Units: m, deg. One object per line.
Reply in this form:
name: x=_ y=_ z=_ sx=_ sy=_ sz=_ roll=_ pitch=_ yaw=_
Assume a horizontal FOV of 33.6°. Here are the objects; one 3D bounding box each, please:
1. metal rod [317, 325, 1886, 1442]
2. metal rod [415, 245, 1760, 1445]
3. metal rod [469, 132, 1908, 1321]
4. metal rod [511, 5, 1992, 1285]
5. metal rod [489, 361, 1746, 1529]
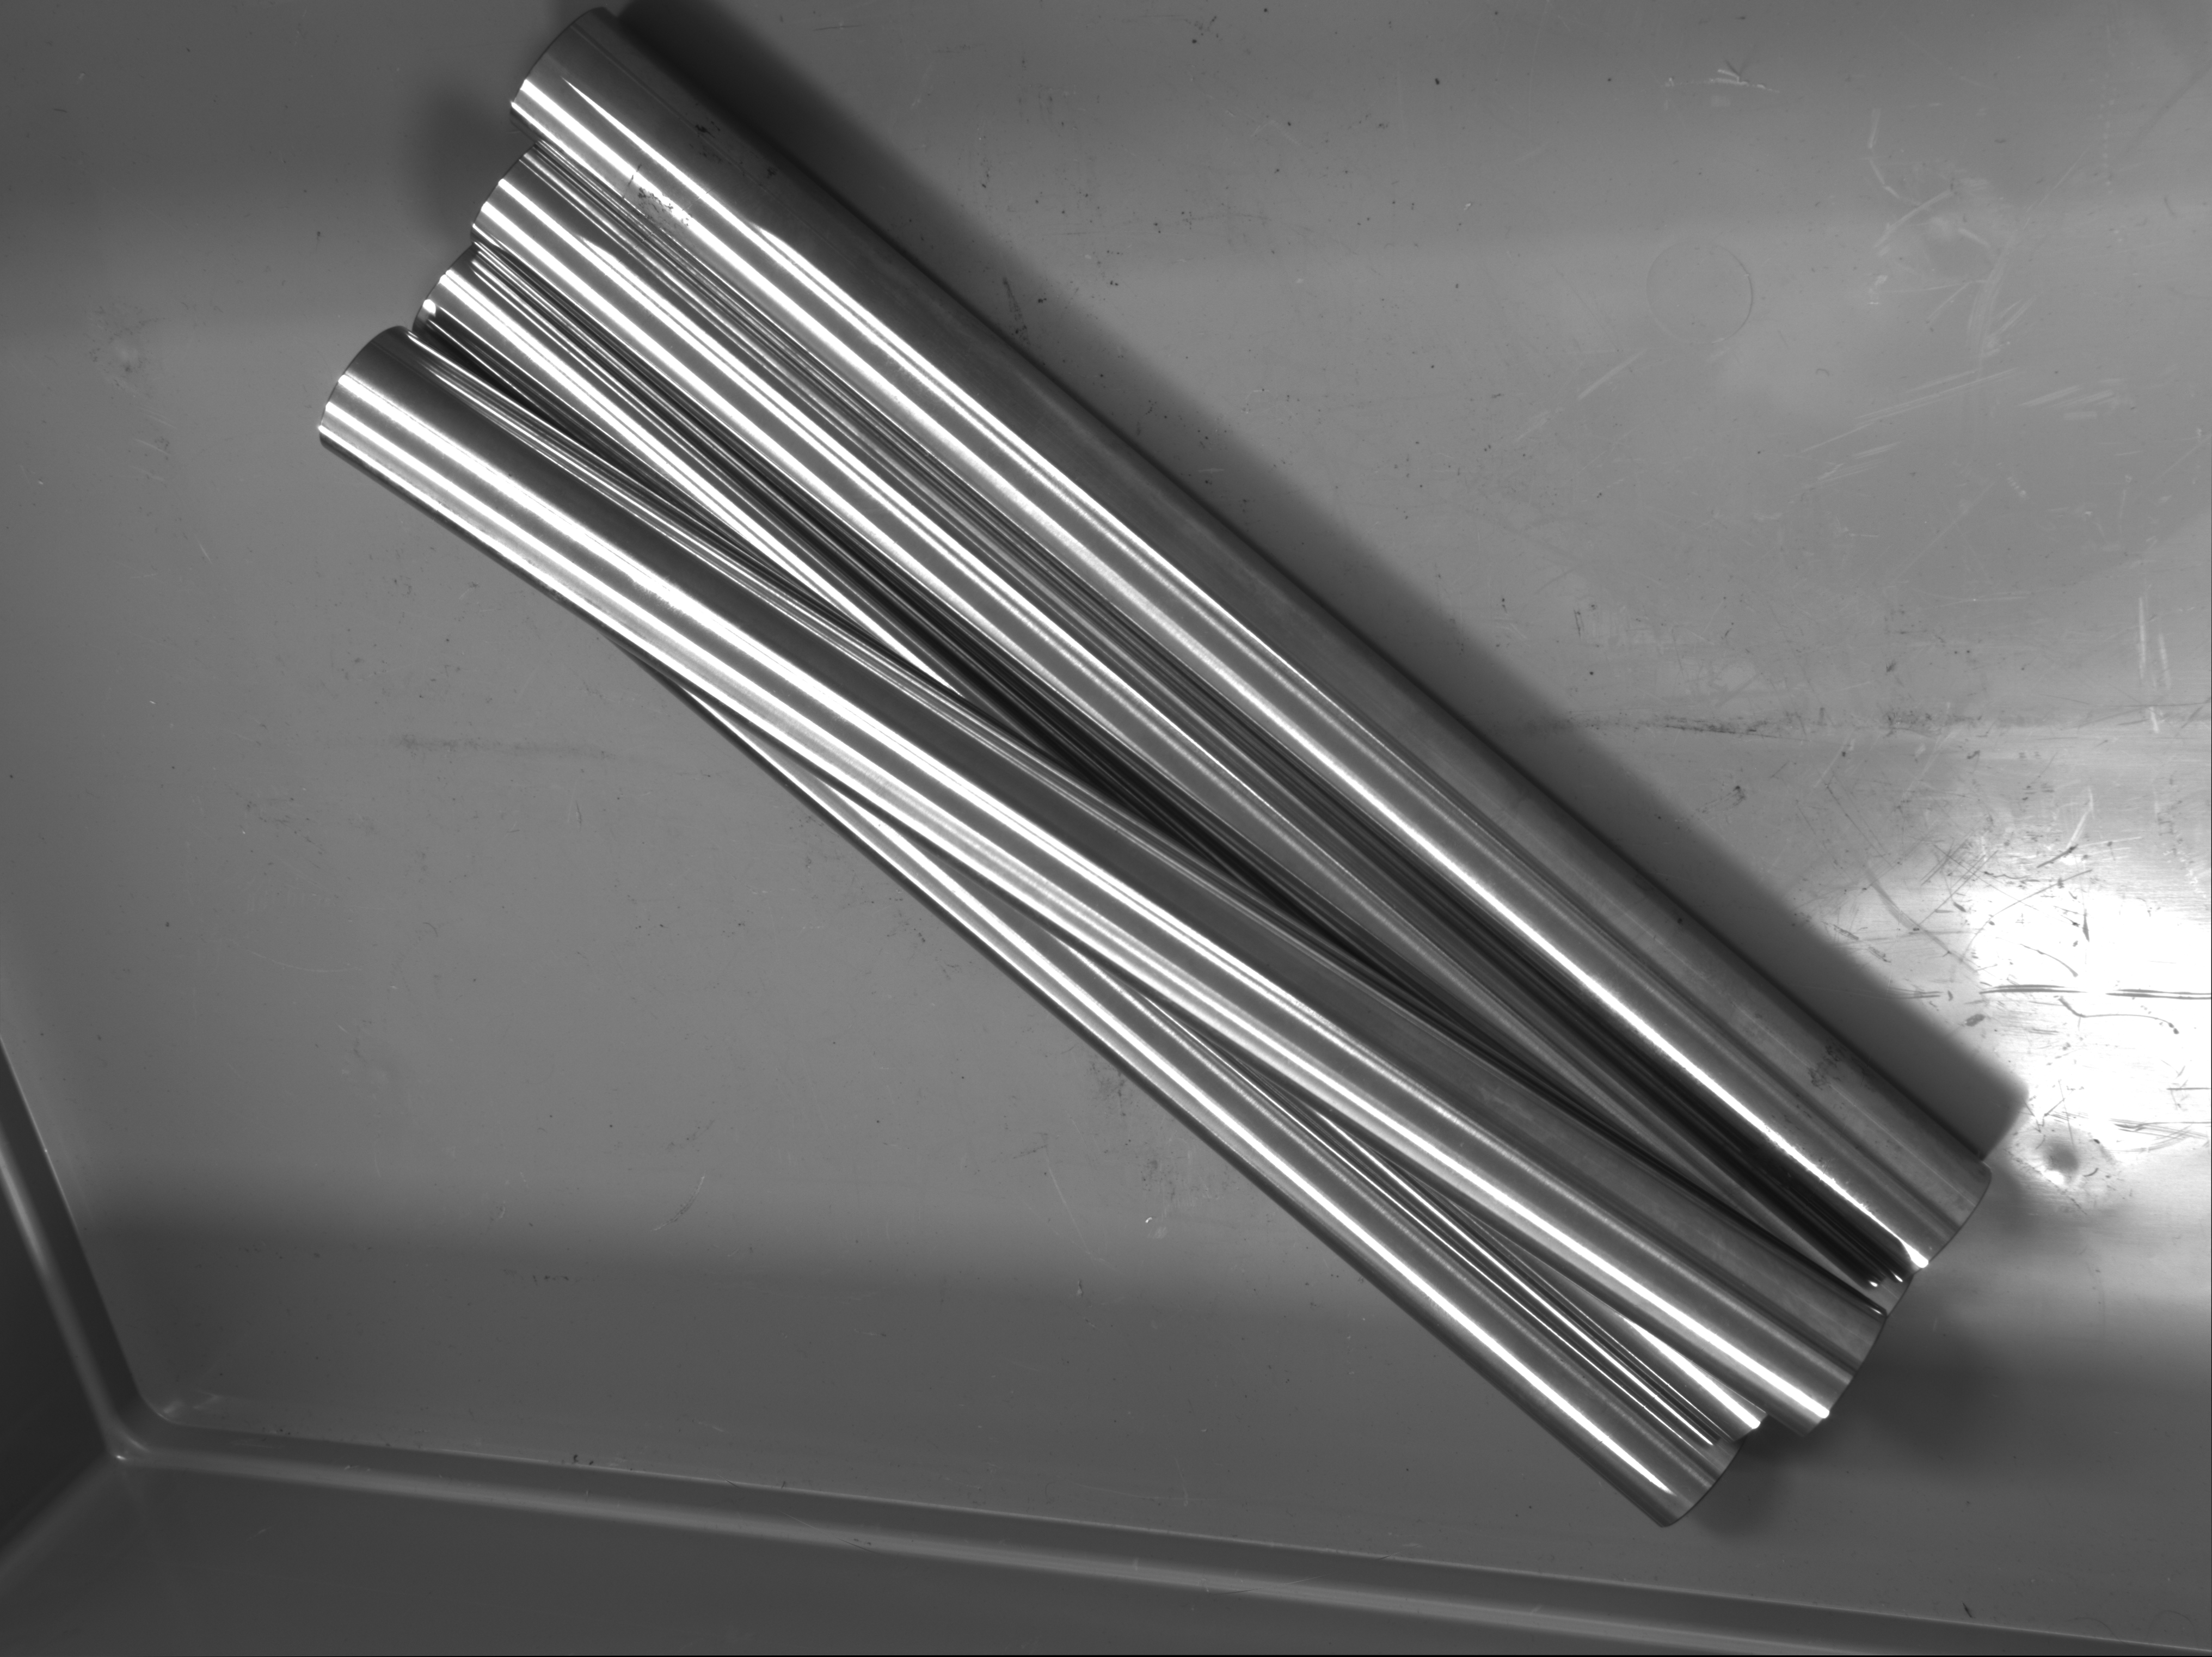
metal rod: x=-0.004 y=0.007 z=0.614 sx=0.300 sy=0.025 sz=0.025 roll=34 pitch=129 yaw=6
metal rod: x=0.001 y=0.001 z=0.641 sx=0.300 sy=0.025 sz=0.025 roll=40 pitch=129 yaw=1
metal rod: x=0.014 y=-0.013 z=0.626 sx=0.300 sy=0.025 sz=0.025 roll=40 pitch=129 yaw=1
metal rod: x=0.024 y=-0.031 z=0.610 sx=0.300 sy=0.025 sz=0.025 roll=40 pitch=129 yaw=1
metal rod: x=-0.008 y=0.019 z=0.657 sx=0.300 sy=0.025 sz=0.025 roll=40 pitch=129 yaw=1
